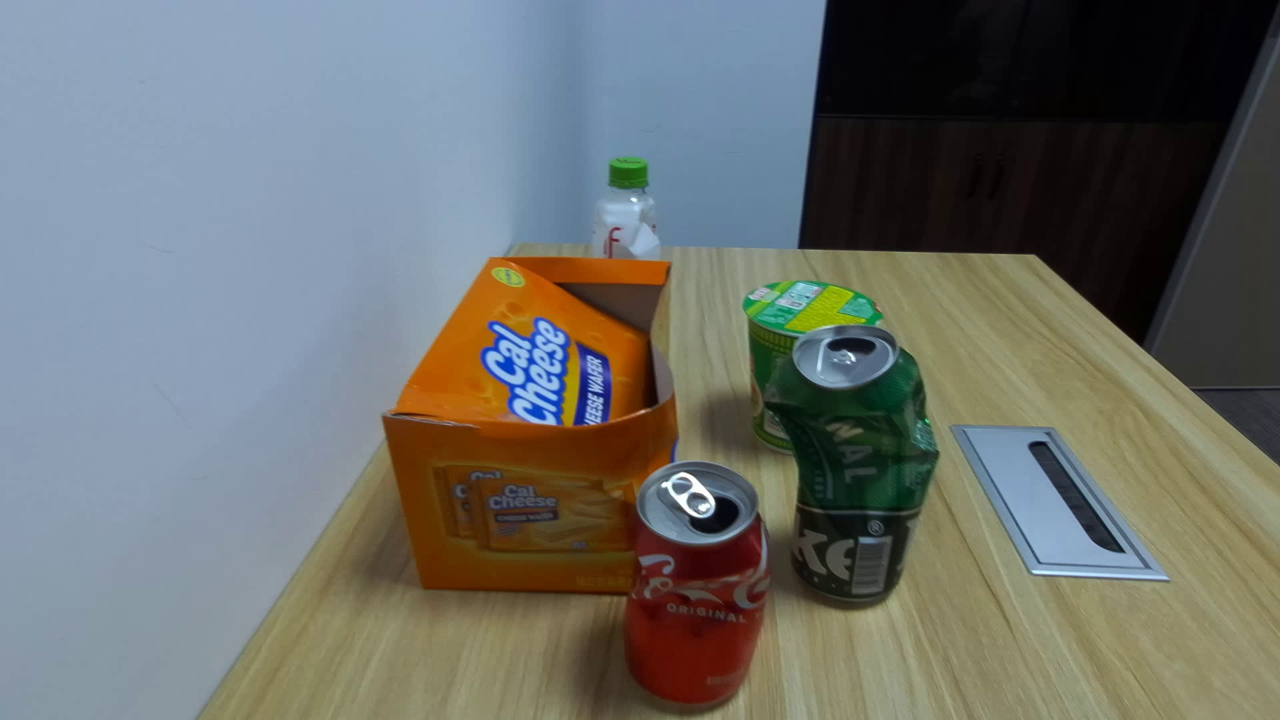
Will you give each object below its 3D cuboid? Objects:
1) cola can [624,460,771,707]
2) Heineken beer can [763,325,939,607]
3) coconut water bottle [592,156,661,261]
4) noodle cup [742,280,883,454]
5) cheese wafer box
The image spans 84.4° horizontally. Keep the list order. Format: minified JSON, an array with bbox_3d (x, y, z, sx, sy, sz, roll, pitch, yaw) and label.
[{"bbox_3d":[0.025,0.109,0.346,0.066,0.117,0.066,-3,31,-4],"label":"cola can"},{"bbox_3d":[0.120,0.059,0.395,0.079,0.159,0.067,-17,30,-16],"label":"Heineken beer can"},{"bbox_3d":[-0.005,-0.075,0.596,0.069,0.186,0.069,-1,24,1],"label":"coconut water bottle"},{"bbox_3d":[0.121,0.010,0.520,0.097,0.110,0.097,1,28,0],"label":"noodle cup"},{"bbox_3d":[-0.051,0.032,0.476,0.152,0.132,0.230,3,29,2],"label":"cheese wafer box"}]
